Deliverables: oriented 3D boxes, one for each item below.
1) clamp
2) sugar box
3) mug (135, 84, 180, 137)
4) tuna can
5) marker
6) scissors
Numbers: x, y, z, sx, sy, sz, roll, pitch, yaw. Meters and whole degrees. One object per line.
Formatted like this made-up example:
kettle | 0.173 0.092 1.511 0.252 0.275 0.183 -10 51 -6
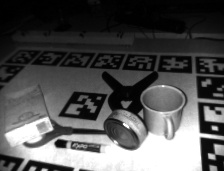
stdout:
clamp | 0.040 0.022 0.576 0.165 0.037 0.202 -3 40 5
sugar box | -0.205 0.066 0.527 0.093 0.045 0.174 -20 34 -15
mug | 0.103 0.061 0.469 0.093 0.082 0.116 -14 36 -8
tuna can | 0.033 0.088 0.440 0.085 0.086 0.034 15 44 26
marker | -0.070 0.129 0.457 0.120 0.020 0.019 1 41 10
scissors | -0.105 0.099 0.497 0.202 0.016 0.087 -2 35 3
